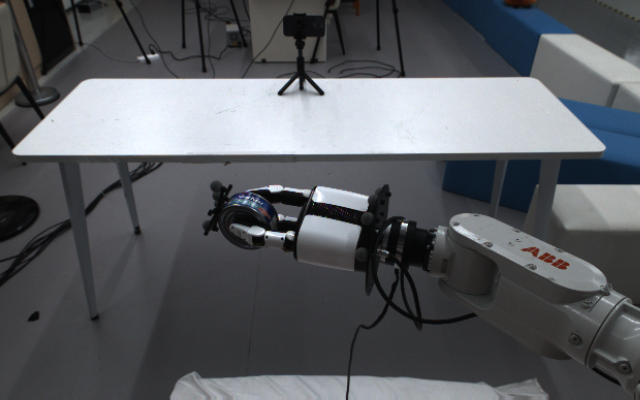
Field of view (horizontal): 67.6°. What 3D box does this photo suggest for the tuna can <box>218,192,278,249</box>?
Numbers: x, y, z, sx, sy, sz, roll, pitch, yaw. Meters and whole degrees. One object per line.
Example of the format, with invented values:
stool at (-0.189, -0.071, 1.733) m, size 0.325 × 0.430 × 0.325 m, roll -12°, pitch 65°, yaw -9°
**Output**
tuna can at (-0.105, 0.034, 0.717) m, size 0.085 × 0.085 × 0.034 m, roll 9°, pitch 36°, yaw 9°
